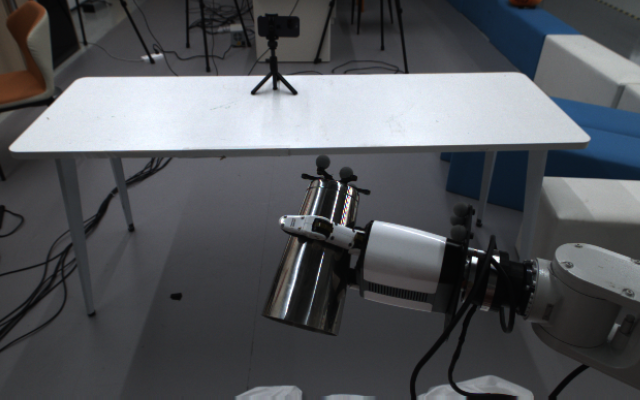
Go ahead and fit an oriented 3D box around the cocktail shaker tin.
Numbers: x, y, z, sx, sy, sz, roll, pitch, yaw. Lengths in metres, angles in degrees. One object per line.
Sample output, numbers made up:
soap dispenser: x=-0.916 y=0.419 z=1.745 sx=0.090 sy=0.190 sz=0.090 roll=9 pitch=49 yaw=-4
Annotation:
cocktail shaker tin: x=-0.002 y=0.066 z=0.577 sx=0.093 sy=0.093 sz=0.170 roll=11 pitch=71 yaw=12
